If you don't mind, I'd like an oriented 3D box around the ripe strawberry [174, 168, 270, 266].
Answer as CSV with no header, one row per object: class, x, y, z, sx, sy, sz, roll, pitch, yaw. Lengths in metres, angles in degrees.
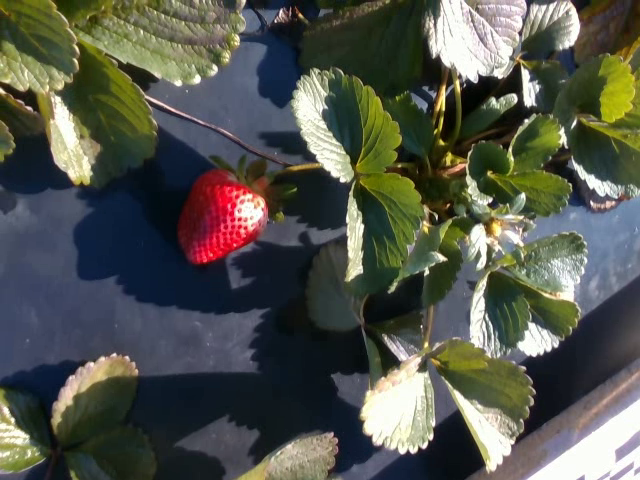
ripe strawberry,-0.046,-0.010,0.298,0.044,0.055,0.041,27,-19,34
